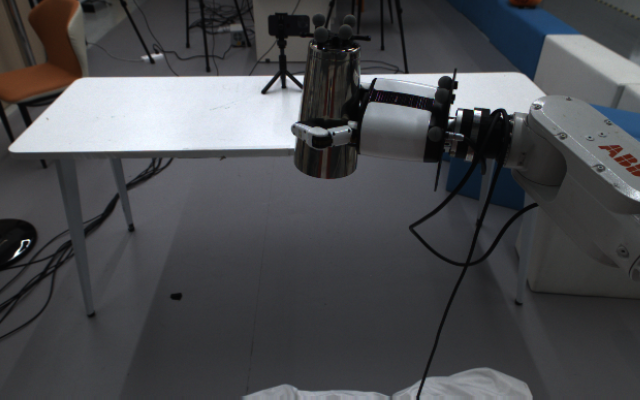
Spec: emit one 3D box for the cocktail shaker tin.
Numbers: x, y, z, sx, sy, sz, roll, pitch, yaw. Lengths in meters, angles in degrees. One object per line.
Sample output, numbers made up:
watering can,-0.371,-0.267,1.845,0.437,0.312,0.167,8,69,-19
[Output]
cocktail shaker tin,0.015,-0.126,0.650,0.093,0.170,0.093,3,34,-2
